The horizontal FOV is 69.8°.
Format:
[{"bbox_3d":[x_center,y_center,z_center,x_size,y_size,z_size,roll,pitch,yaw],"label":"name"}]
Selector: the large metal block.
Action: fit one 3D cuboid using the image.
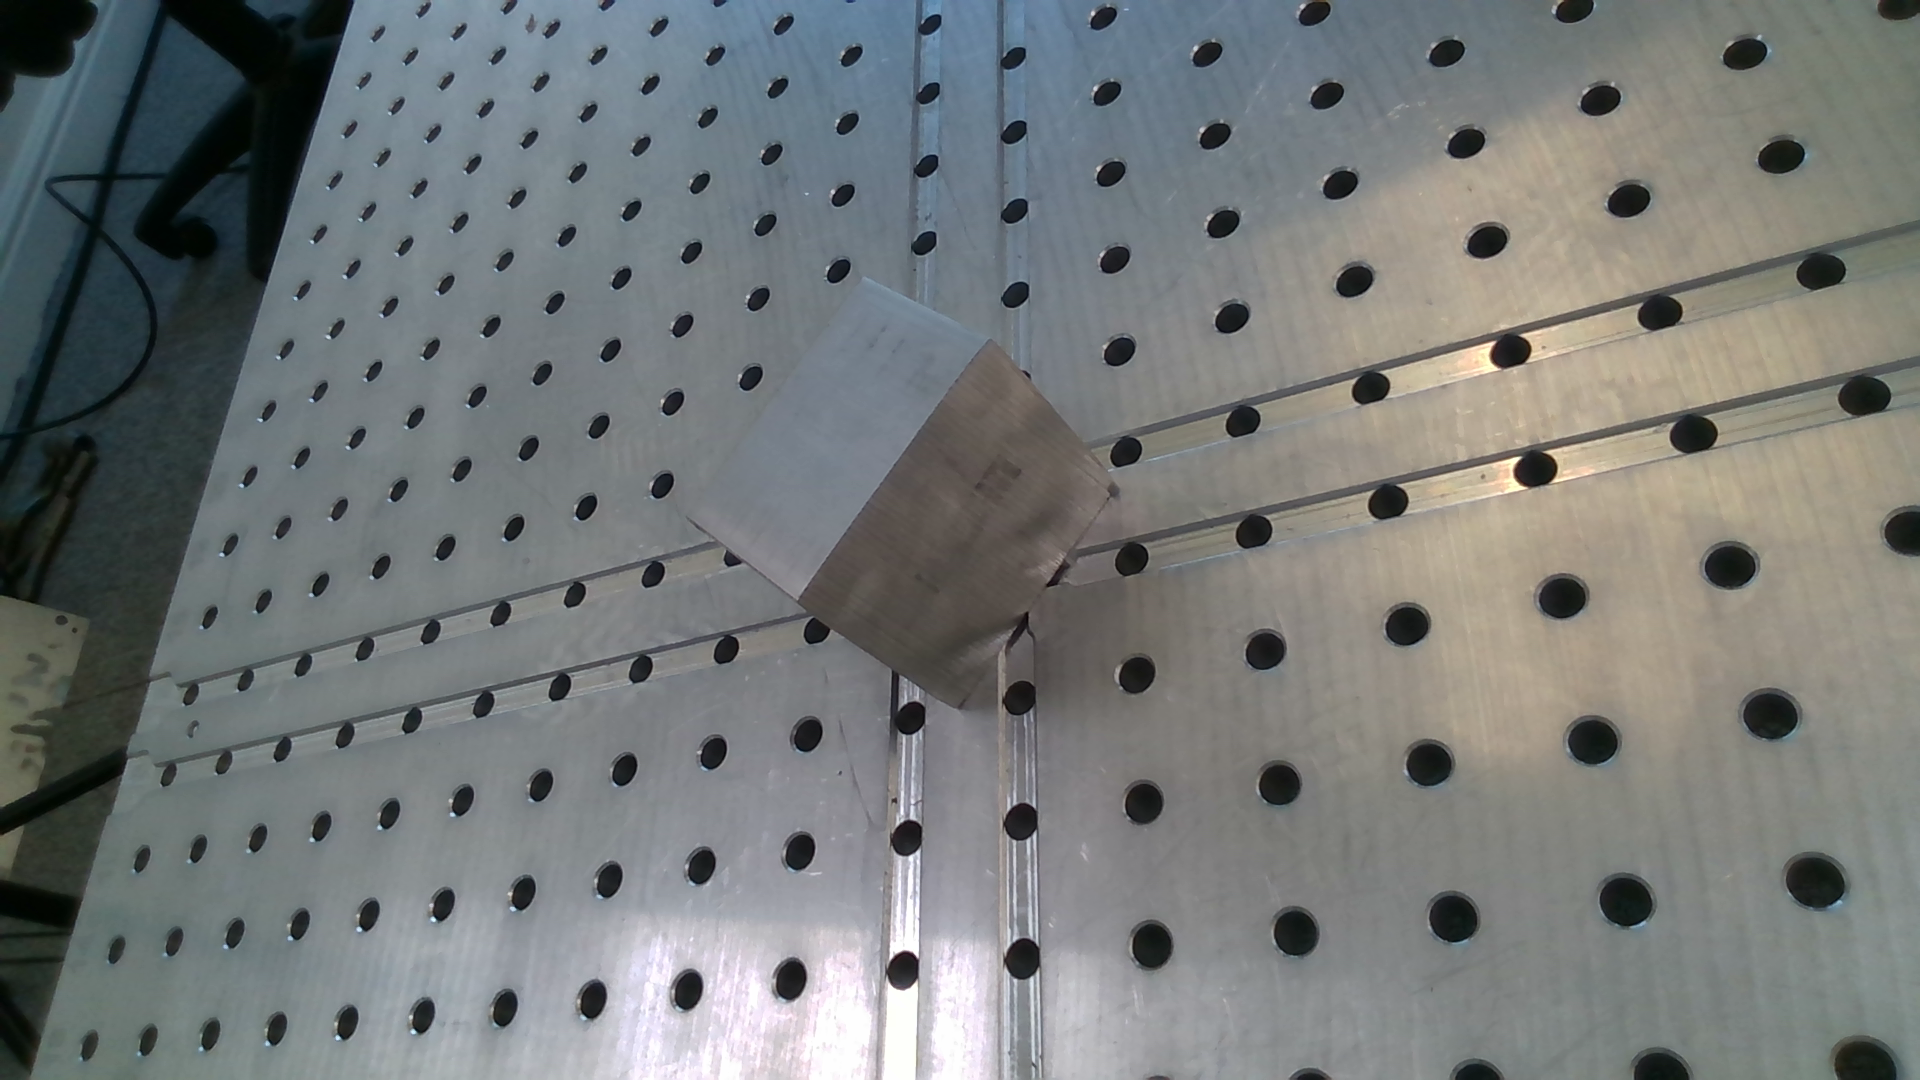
[{"bbox_3d":[-0.013,-0.011,0.374,0.050,0.080,0.080,32,85,39],"label":"large metal block"}]
